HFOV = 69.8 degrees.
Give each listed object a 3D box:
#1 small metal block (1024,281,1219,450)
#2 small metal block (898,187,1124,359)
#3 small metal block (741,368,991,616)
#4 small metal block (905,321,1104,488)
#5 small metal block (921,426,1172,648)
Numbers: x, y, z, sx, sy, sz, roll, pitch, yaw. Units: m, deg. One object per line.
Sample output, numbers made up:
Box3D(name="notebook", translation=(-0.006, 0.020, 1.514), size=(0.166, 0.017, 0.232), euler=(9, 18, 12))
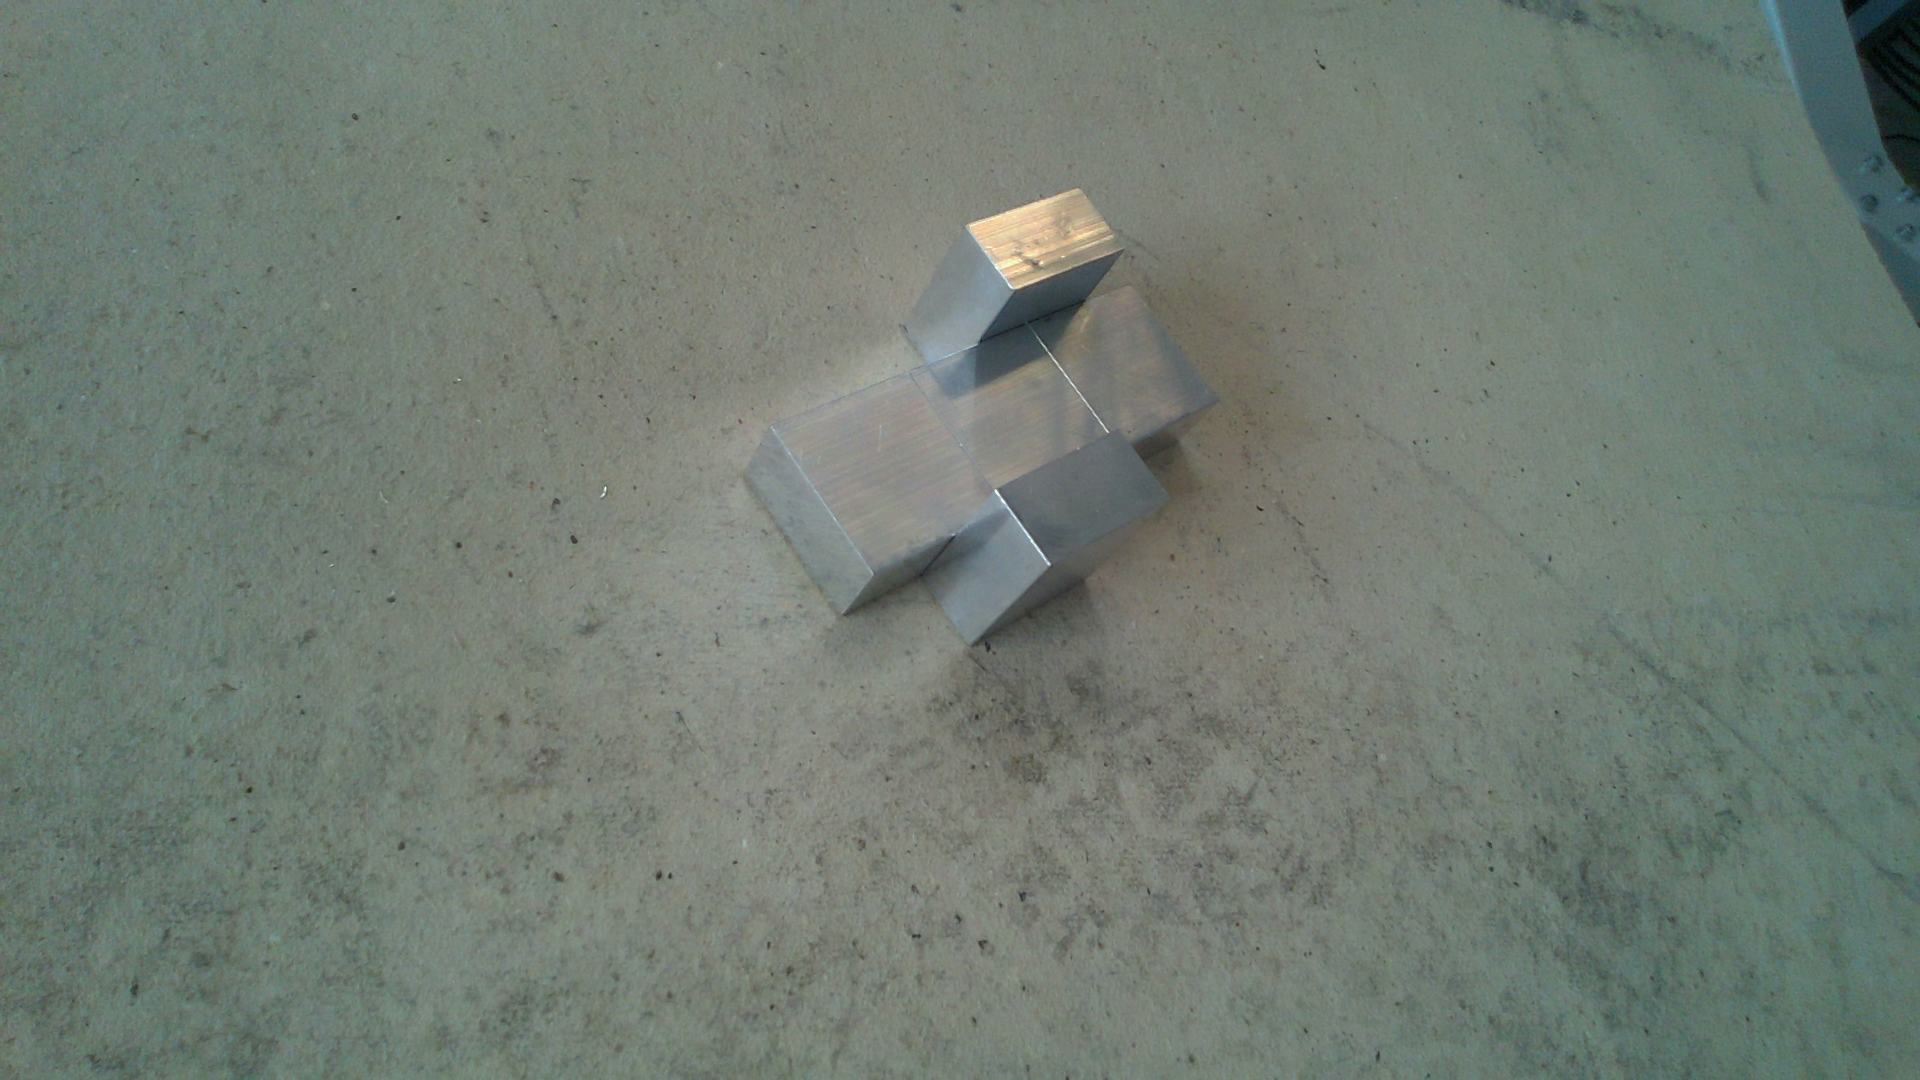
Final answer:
Box3D(name="small metal block", translation=(0.047, -0.051, 0.446), size=(0.050, 0.025, 0.050), euler=(-27, 77, -37))
Box3D(name="small metal block", translation=(0.015, -0.079, 0.431), size=(0.050, 0.050, 0.025), euler=(-27, 76, -36))
Box3D(name="small metal block", translation=(-0.024, -0.014, 0.385), size=(0.050, 0.025, 0.050), euler=(-27, 77, -37))
Box3D(name="small metal block", translation=(0.012, -0.033, 0.416), size=(0.050, 0.025, 0.050), euler=(-27, 77, -37))
Box3D(name="small metal block", translation=(0.024, -0.001, 0.388), size=(0.050, 0.050, 0.025), euler=(-28, 76, -37))
